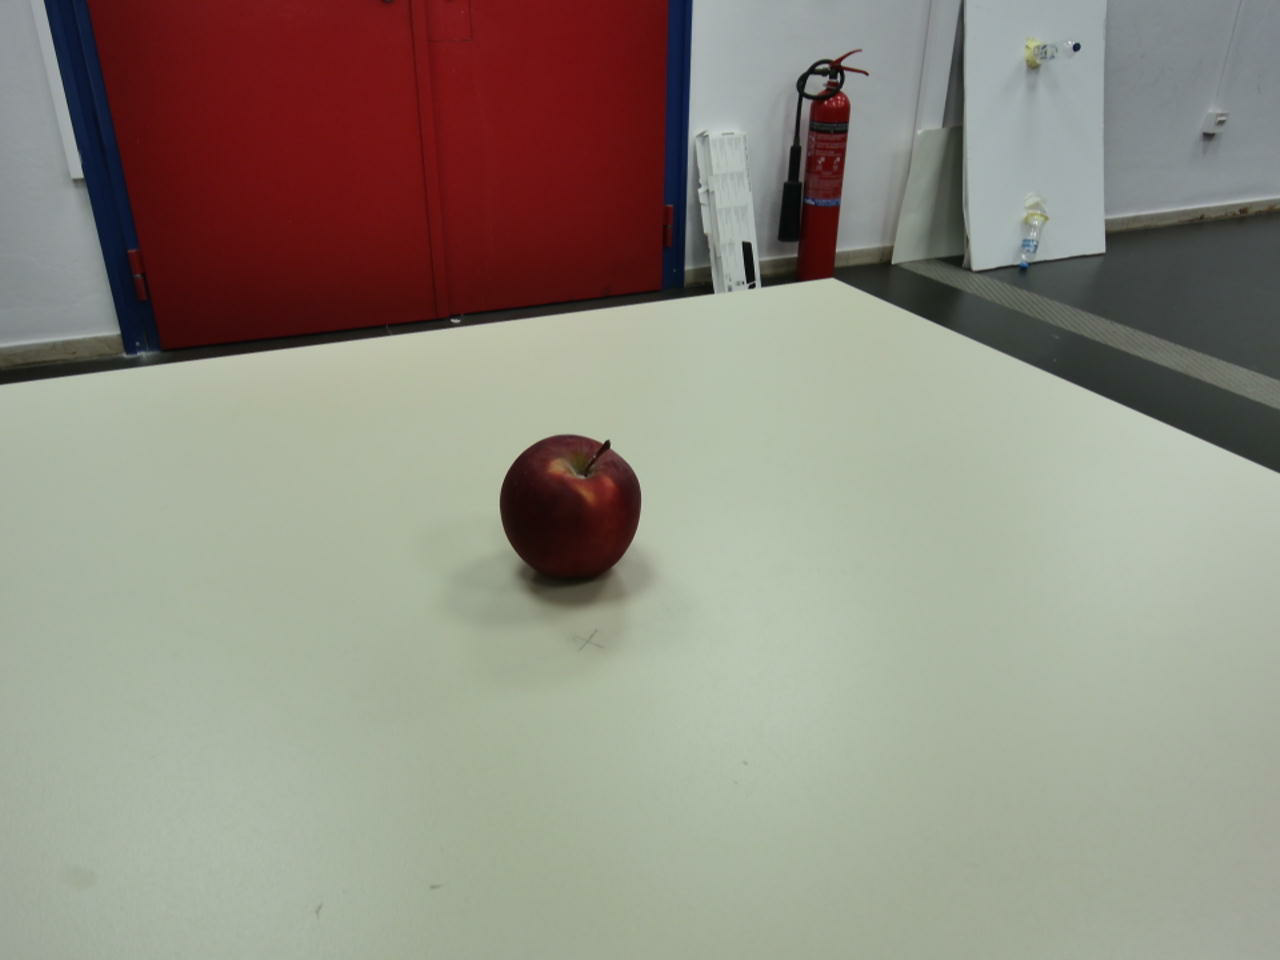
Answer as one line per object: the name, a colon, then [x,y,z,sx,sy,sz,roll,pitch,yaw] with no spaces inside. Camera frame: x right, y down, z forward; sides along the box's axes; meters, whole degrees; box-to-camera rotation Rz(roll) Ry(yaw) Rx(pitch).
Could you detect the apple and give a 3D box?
apple: [-0.034,0.013,0.490,0.070,0.072,0.070,0,26,0]
